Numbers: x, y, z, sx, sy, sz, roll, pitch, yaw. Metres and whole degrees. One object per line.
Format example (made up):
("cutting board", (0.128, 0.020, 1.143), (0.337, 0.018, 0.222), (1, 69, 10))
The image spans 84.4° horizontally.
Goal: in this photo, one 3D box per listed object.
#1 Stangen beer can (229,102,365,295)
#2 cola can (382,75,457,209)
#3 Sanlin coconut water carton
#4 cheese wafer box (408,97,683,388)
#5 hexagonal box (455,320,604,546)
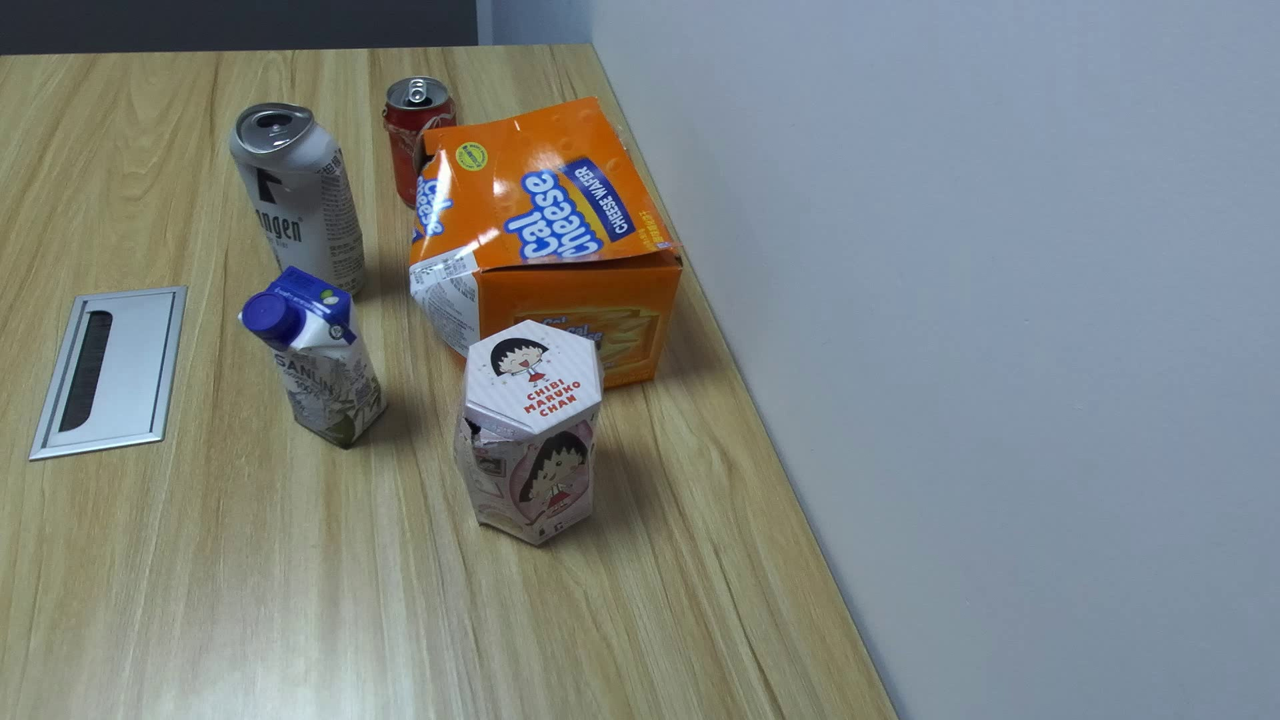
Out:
("Stangen beer can", (-0.267, -0.119, 0.560), (0.077, 0.162, 0.065), (-15, 56, -19))
("cola can", (-0.205, -0.205, 0.672), (0.066, 0.117, 0.066), (28, 52, 15))
("Sanlin coconut water carton", (-0.223, -0.002, 0.487), (0.078, 0.142, 0.058), (25, 56, 13))
("cheese wafer box", (-0.092, -0.092, 0.578), (0.192, 0.145, 0.218), (-13, 53, -17))
("hexagonal box", (-0.072, 0.051, 0.469), (0.091, 0.134, 0.090), (6, 47, -2))
